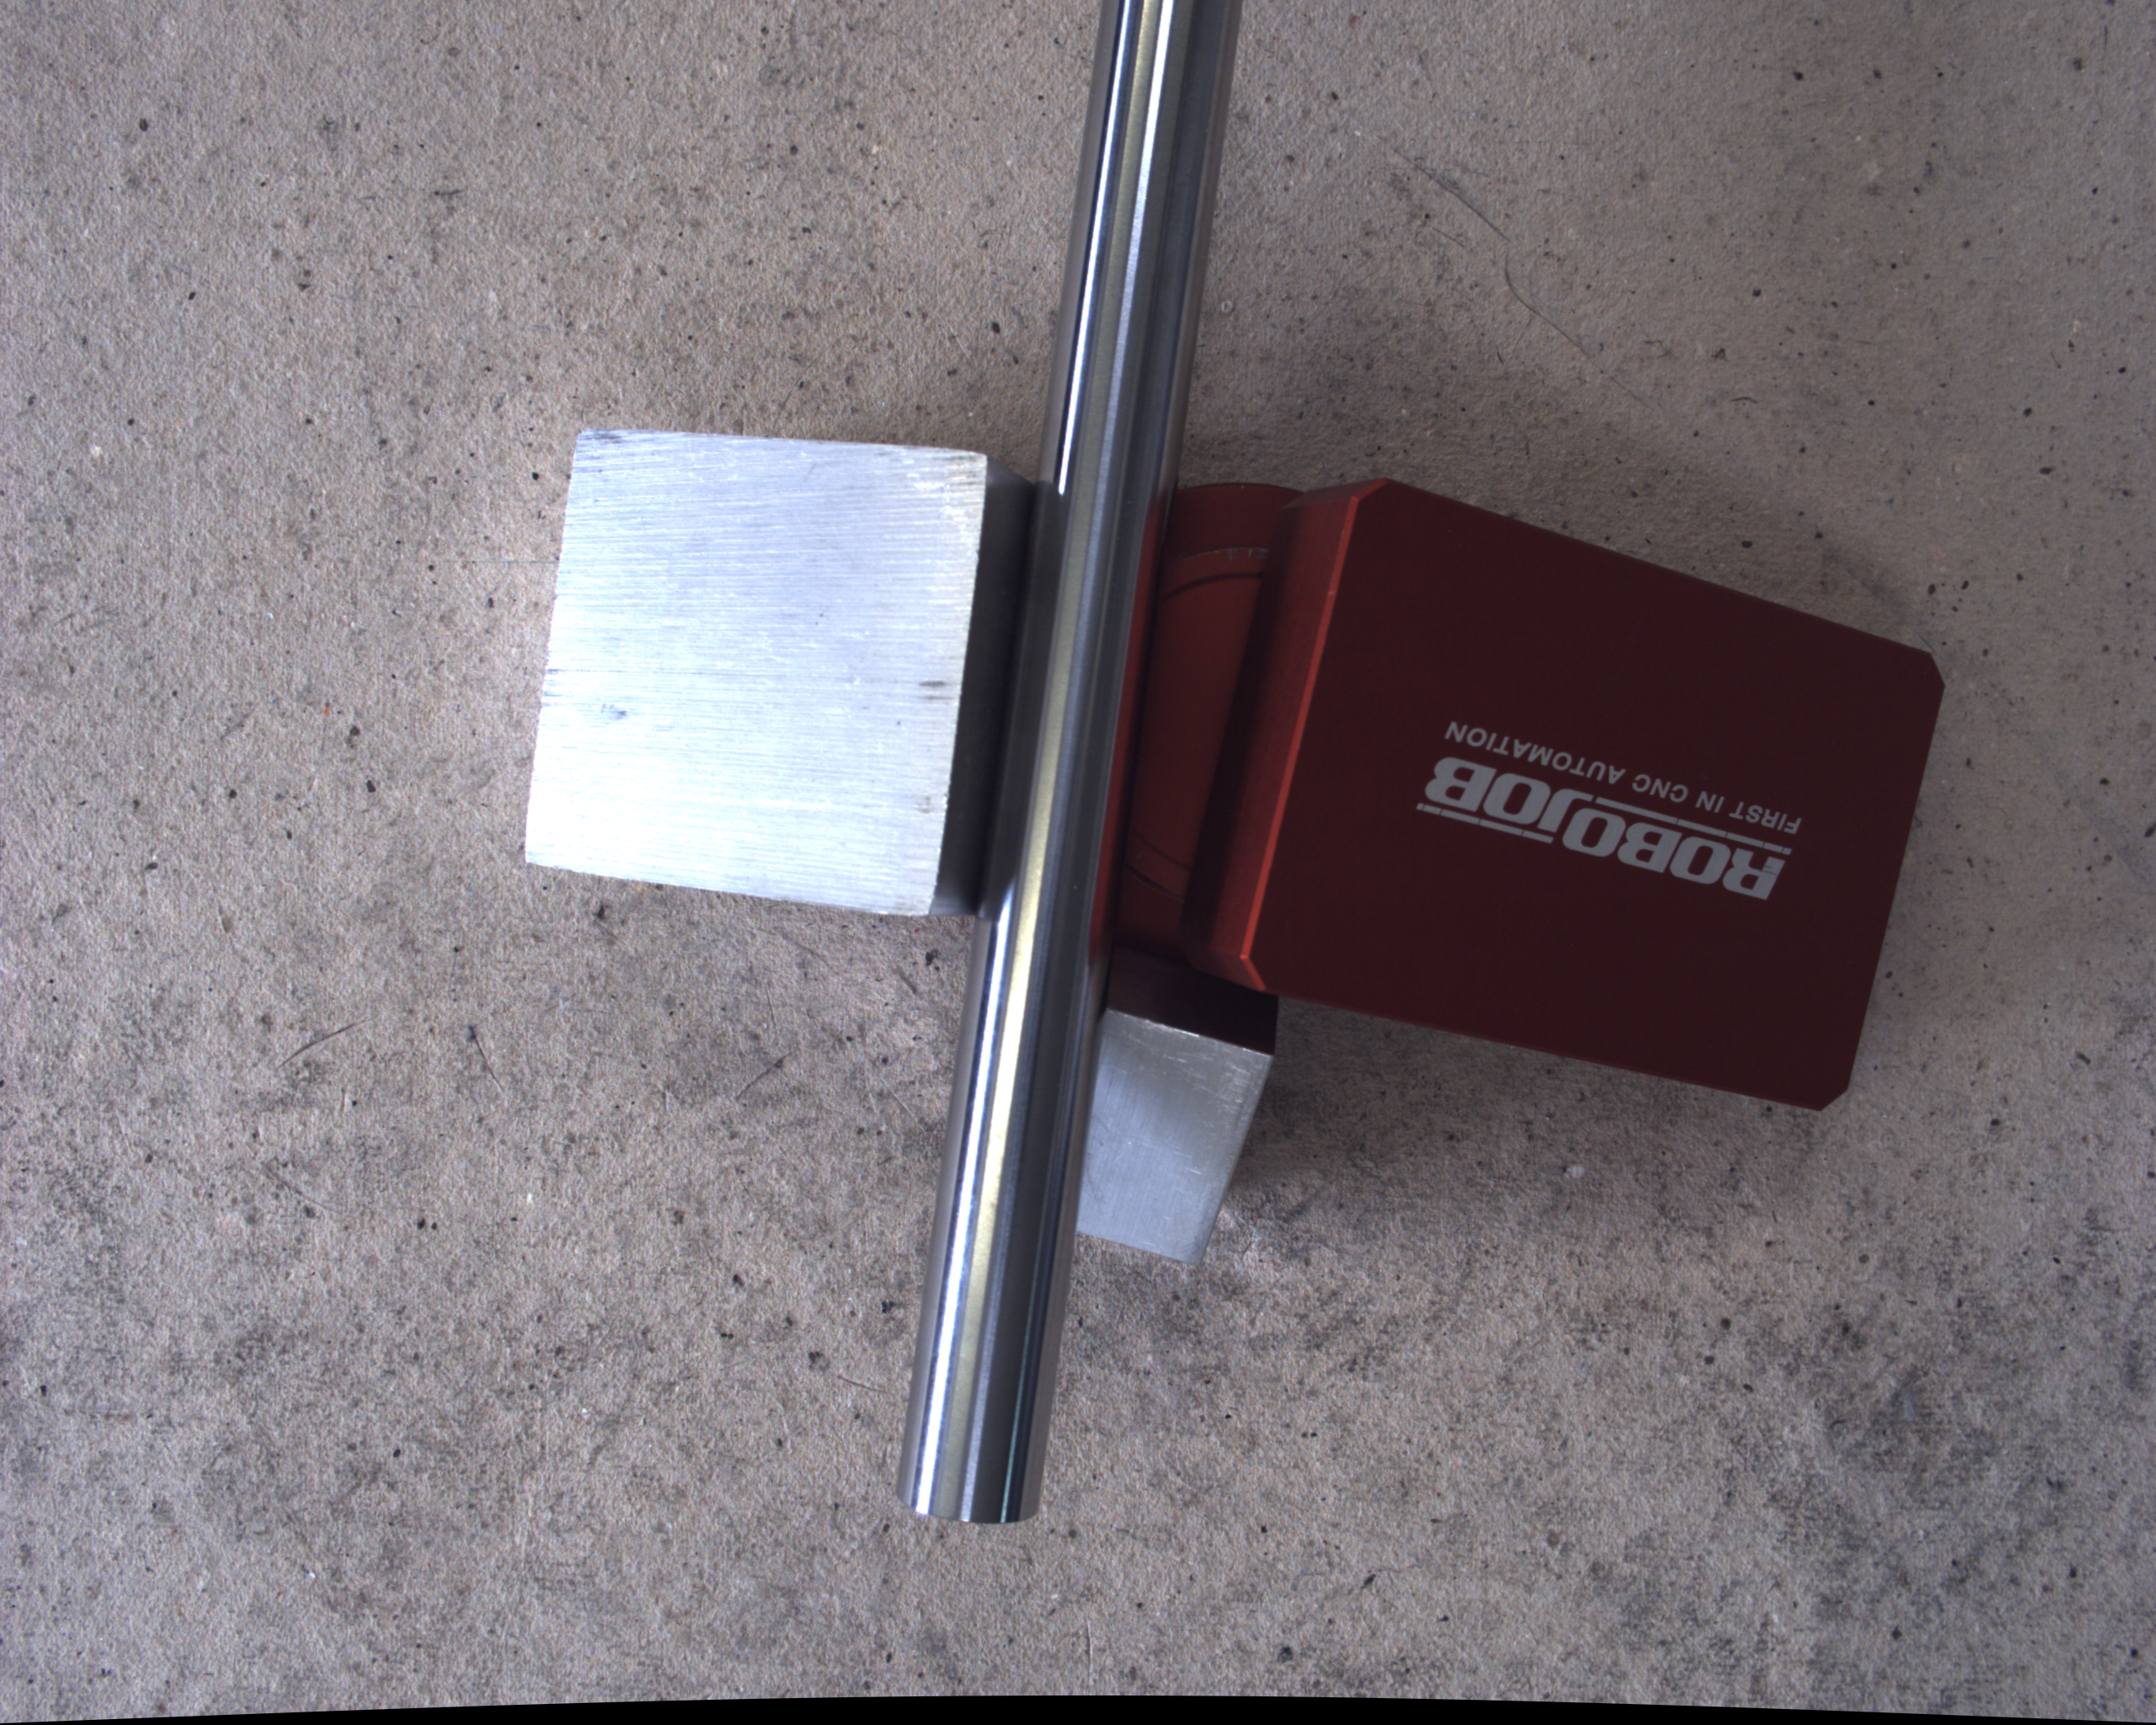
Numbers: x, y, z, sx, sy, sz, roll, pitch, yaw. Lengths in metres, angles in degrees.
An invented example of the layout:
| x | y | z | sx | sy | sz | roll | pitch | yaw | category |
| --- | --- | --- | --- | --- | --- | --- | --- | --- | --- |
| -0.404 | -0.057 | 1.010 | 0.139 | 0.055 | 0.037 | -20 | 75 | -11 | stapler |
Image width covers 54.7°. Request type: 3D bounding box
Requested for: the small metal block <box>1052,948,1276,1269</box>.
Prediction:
| x | y | z | sx | sy | sz | roll | pitch | yaw | category |
| --- | --- | --- | --- | --- | --- | --- | --- | --- | --- |
| 0.007 | 0.045 | 0.401 | 0.050 | 0.025 | 0.050 | 16 | 116 | 0 | small metal block |

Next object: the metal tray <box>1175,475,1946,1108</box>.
| x | y | z | sx | sy | sz | roll | pitch | yaw | category |
| --- | --- | --- | --- | --- | --- | --- | --- | --- | --- |
| 0.091 | -0.011 | 0.387 | 0.131 | 0.030 | 0.089 | 13 | 91 | -21 | metal tray |

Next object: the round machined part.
| x | y | z | sx | sy | sz | roll | pitch | yaw | category |
| --- | --- | --- | --- | --- | --- | --- | --- | --- | --- |
| 0.031 | -0.025 | 0.403 | 0.099 | 0.042 | 0.097 | 0 | 90 | 0 | round machined part |

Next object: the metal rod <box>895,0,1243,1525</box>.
| x | y | z | sx | sy | sz | roll | pitch | yaw | category |
| --- | --- | --- | --- | --- | --- | --- | --- | --- | --- |
| 0.001 | -0.036 | 0.369 | 0.025 | 0.025 | 0.298 | 8 | 88 | 0 | metal rod |

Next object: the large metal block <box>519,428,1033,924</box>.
| x | y | z | sx | sy | sz | roll | pitch | yaw | category |
| --- | --- | --- | --- | --- | --- | --- | --- | --- | --- |
| -0.050 | -0.033 | 0.387 | 0.080 | 0.050 | 0.080 | 7 | 90 | 18 | large metal block |
